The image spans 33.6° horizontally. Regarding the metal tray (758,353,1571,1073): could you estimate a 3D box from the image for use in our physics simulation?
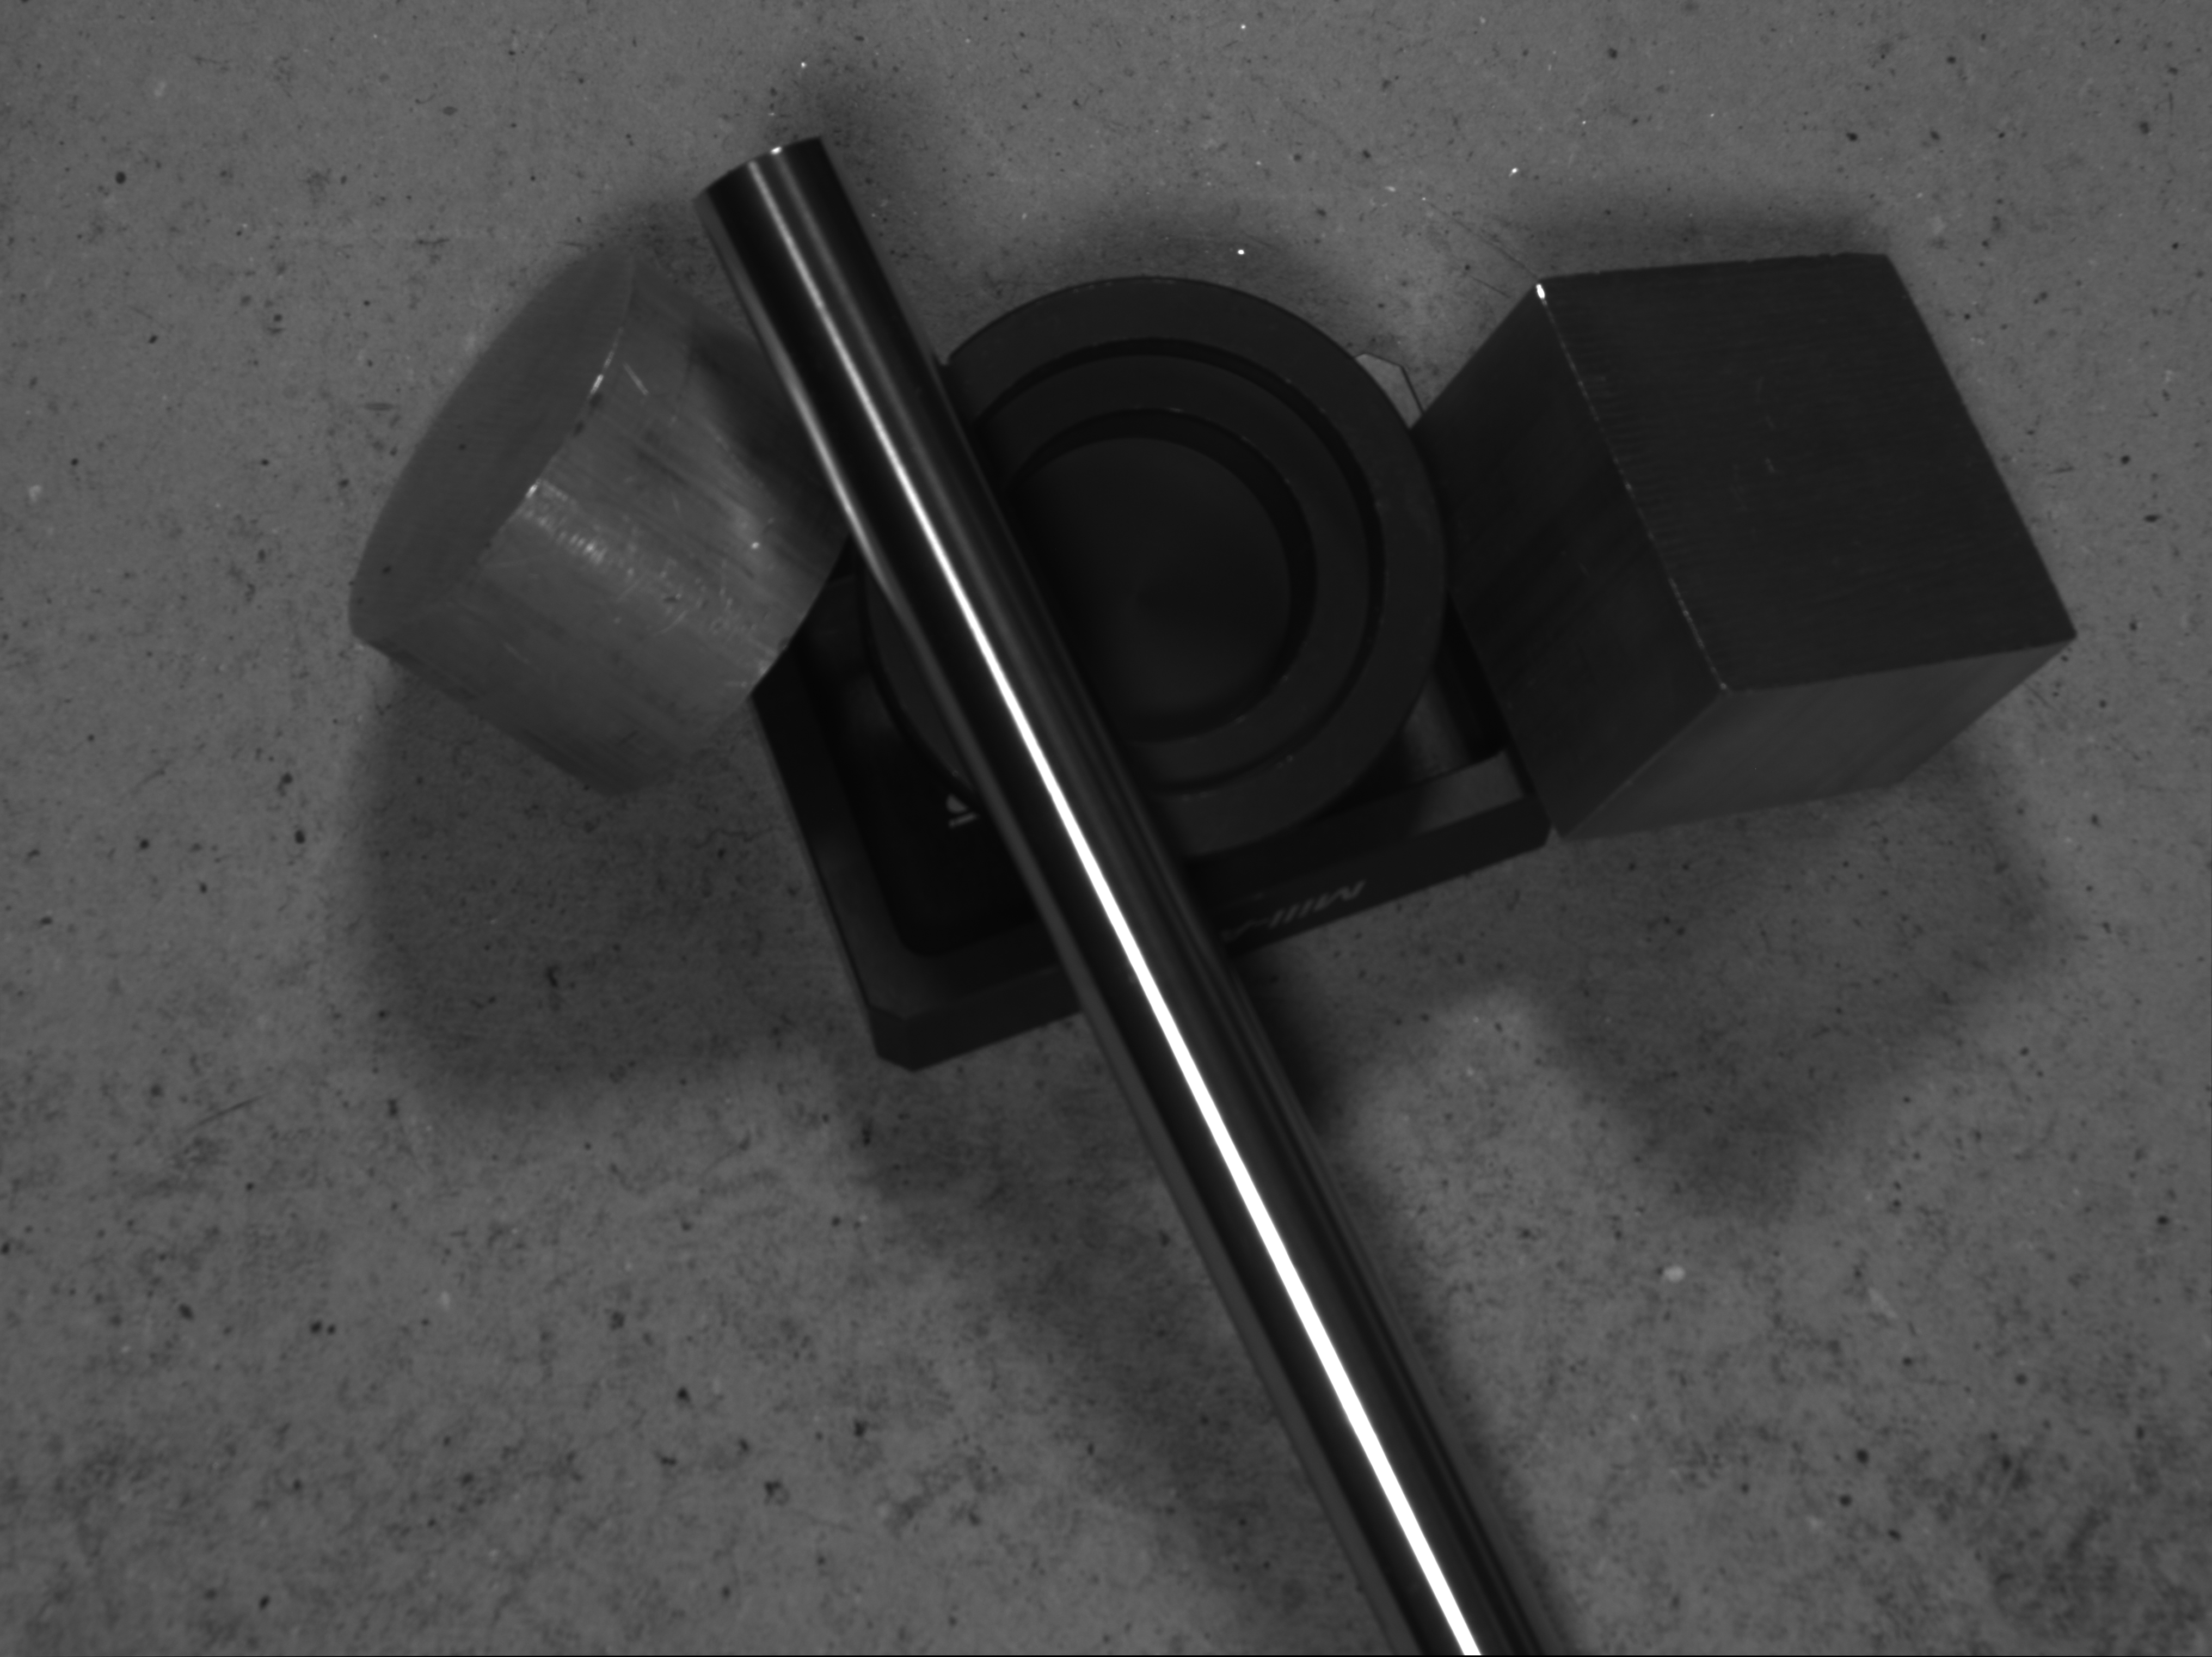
[{"bbox_3d":[0.008,-0.021,0.650,0.130,0.030,0.090,-19,71,-7],"label":"metal tray"}]

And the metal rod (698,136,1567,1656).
[{"bbox_3d":[0.011,0.030,0.587,0.025,0.025,0.300,-25,89,-9],"label":"metal rod"}]

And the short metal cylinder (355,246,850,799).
[{"bbox_3d":[-0.084,-0.052,0.628,0.050,0.080,0.080,35,70,-26],"label":"short metal cylinder"}]

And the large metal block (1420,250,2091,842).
[{"bbox_3d":[0.109,-0.050,0.632,0.080,0.050,0.080,-9,68,-31],"label":"large metal block"}]

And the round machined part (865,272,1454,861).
[{"bbox_3d":[0.008,-0.042,0.626,0.098,0.042,0.098,0,85,-4],"label":"round machined part"}]
